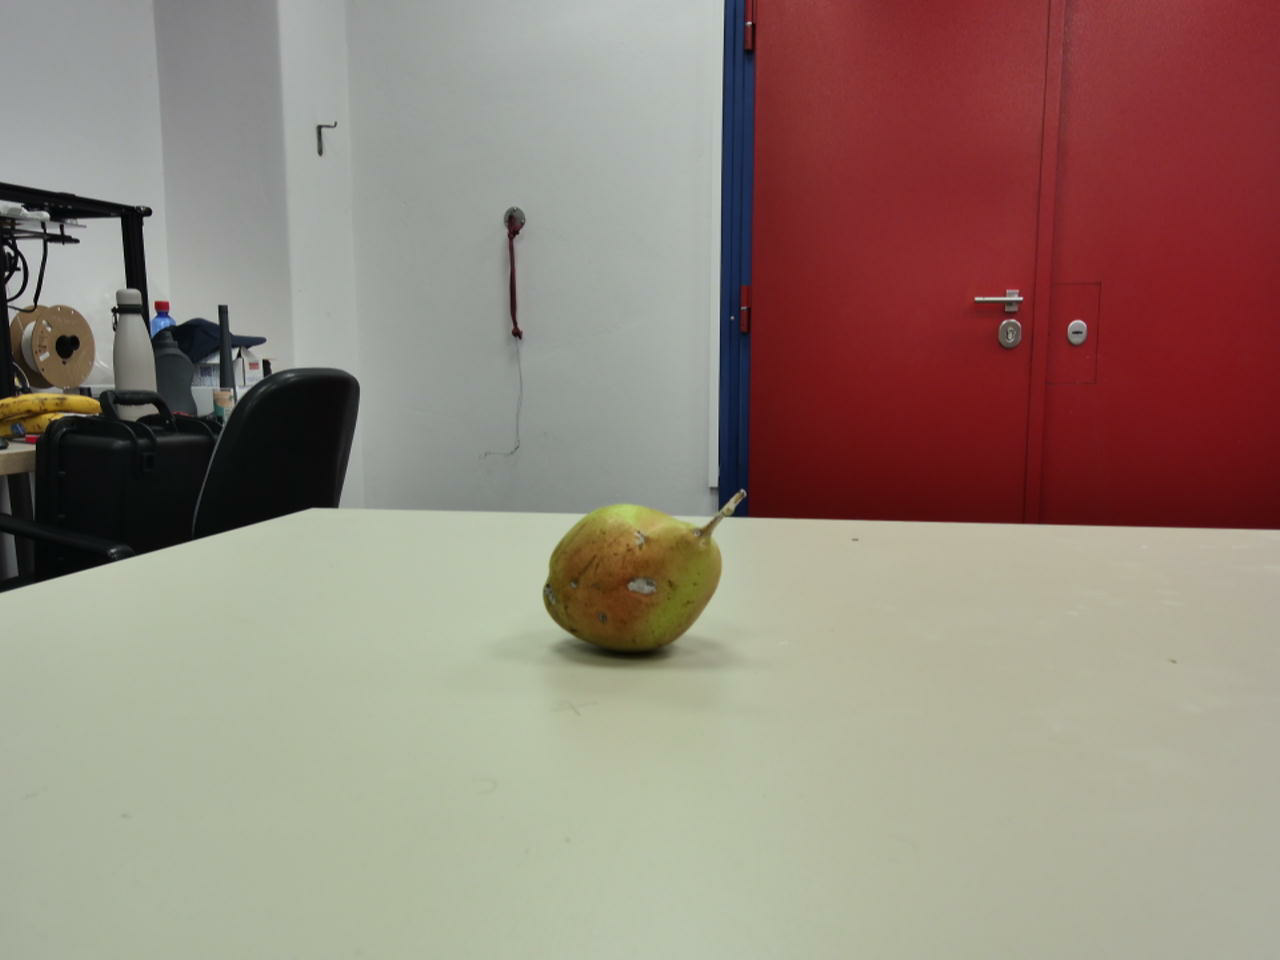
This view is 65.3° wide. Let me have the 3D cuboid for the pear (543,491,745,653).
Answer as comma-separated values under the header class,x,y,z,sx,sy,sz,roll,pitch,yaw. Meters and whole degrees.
class,x,y,z,sx,sy,sz,roll,pitch,yaw
pear,-0.002,0.038,0.424,0.068,0.069,0.070,-2,4,-26
